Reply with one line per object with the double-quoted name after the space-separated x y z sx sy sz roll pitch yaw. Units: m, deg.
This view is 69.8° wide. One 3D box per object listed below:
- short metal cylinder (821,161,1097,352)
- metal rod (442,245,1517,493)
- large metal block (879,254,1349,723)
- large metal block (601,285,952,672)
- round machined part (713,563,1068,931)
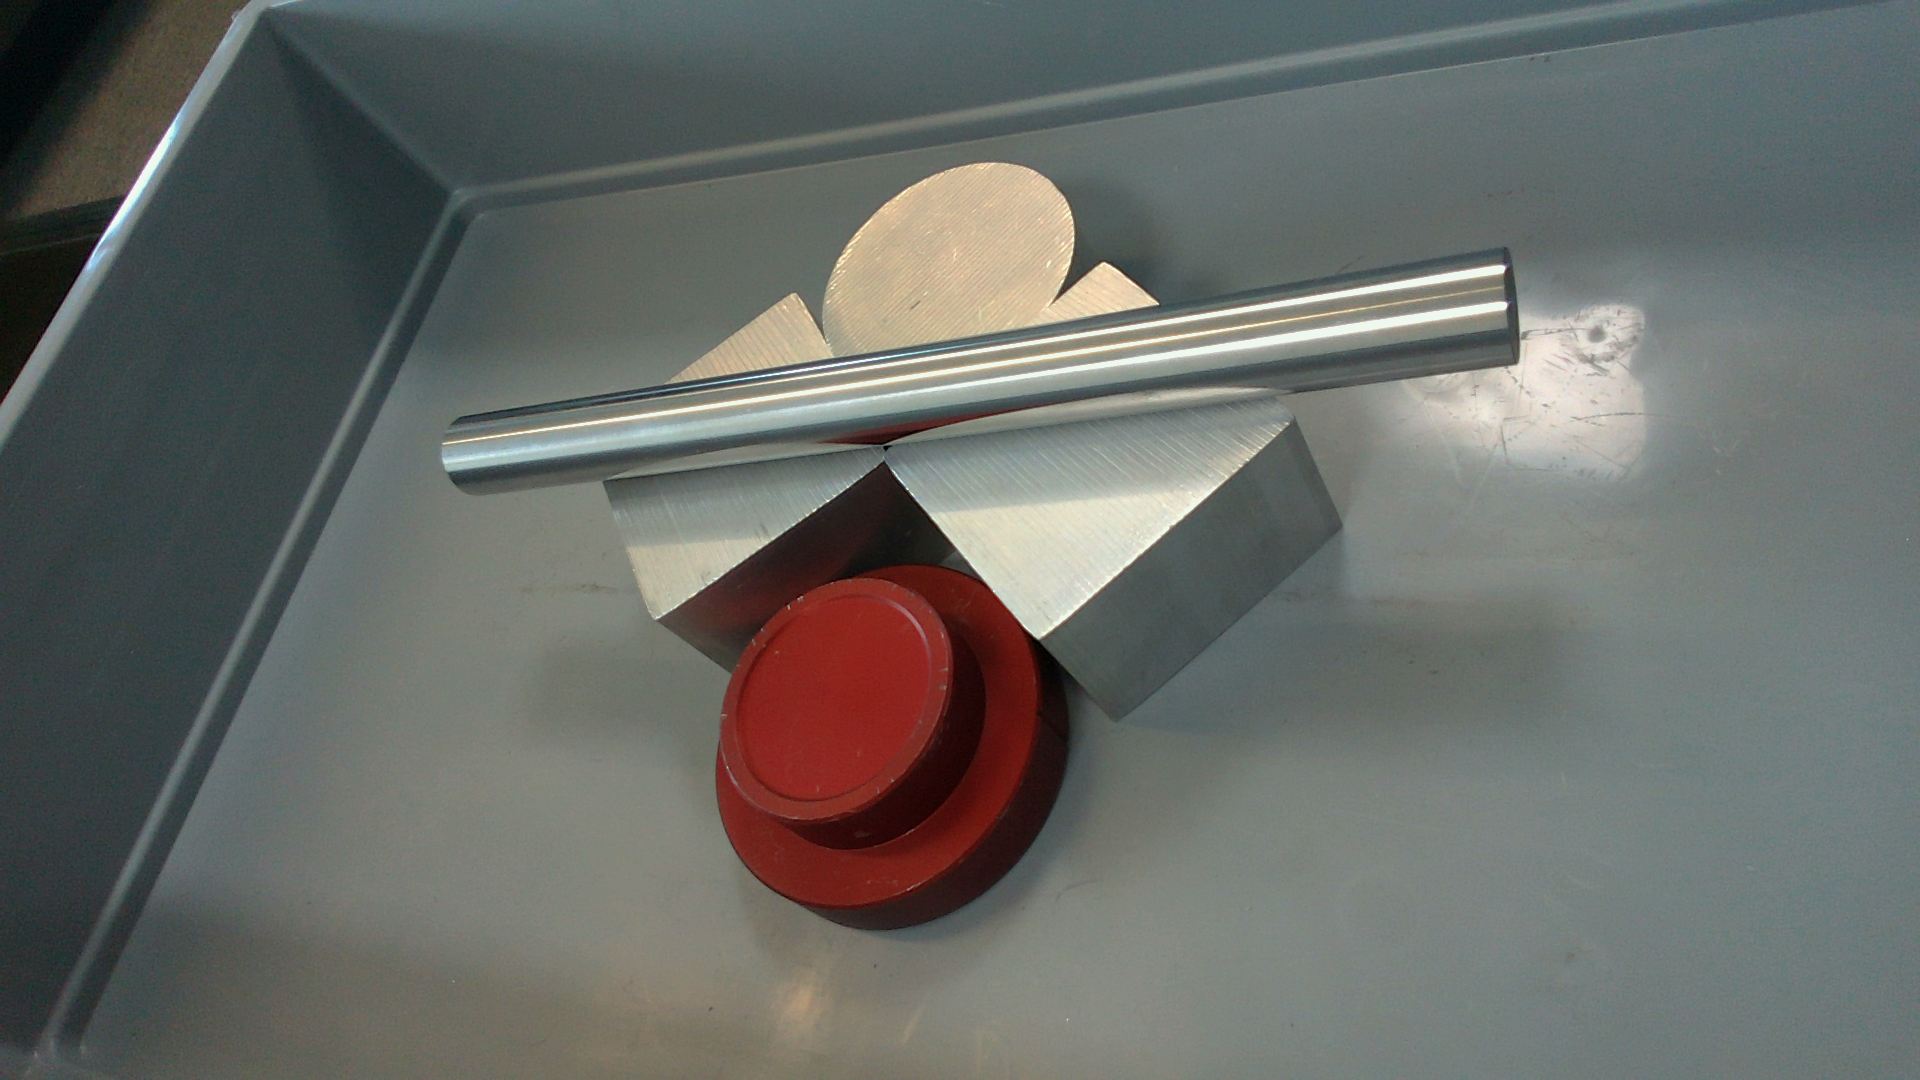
0.006 -0.066 0.413 0.080 0.050 0.080 -13 56 21 "short metal cylinder"
-0.017 -0.038 0.357 0.299 0.025 0.025 -5 59 27 "metal rod"
0.039 -0.014 0.360 0.080 0.050 0.080 -41 51 1 "large metal block"
-0.057 -0.016 0.417 0.080 0.050 0.080 -34 53 6 "large metal block"
-0.024 0.049 0.364 0.098 0.042 0.098 -13 56 21 "round machined part"
